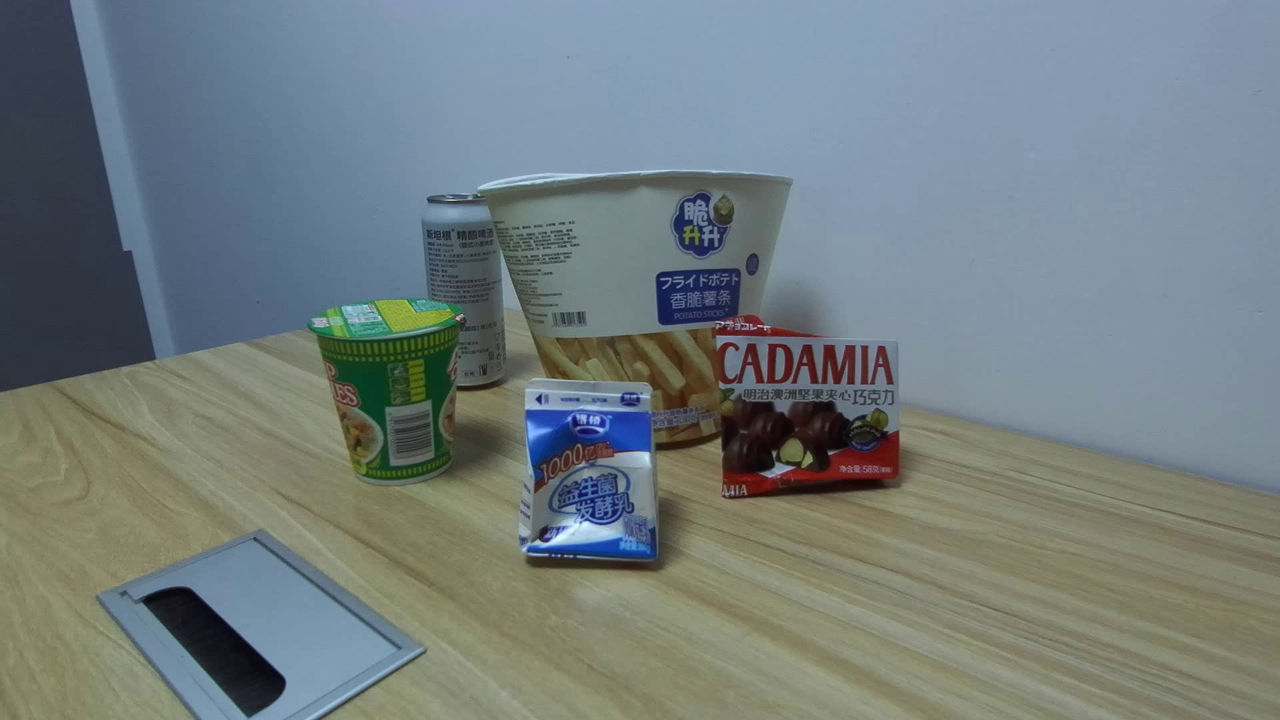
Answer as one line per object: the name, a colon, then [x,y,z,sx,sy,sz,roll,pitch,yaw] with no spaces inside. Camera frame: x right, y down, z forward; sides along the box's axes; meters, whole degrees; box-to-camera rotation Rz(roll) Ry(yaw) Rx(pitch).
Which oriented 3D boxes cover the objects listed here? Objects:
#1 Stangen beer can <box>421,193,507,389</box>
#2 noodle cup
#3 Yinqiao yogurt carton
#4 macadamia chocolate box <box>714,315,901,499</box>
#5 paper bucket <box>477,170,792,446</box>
Stangen beer can: [-0.158,-0.061,0.639,0.067,0.171,0.067,1,18,0]
noodle cup: [-0.166,0.023,0.482,0.097,0.110,0.097,0,17,0]
Yinqiao yogurt carton: [-0.026,0.057,0.405,0.077,0.094,0.071,1,12,3]
macadamia chocolate box: [0.110,0.027,0.469,0.126,0.112,0.056,-2,18,-6]
paper bucket: [0.004,-0.048,0.556,0.147,0.199,0.219,16,24,40]
